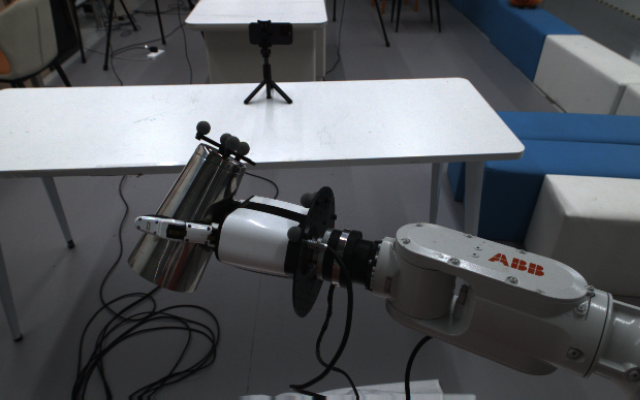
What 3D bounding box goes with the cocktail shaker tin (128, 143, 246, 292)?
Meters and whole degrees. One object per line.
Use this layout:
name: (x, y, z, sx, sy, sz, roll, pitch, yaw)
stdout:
cocktail shaker tin: (-0.160, 0.017, 0.611, 0.093, 0.170, 0.093, 27, 2, -1)
